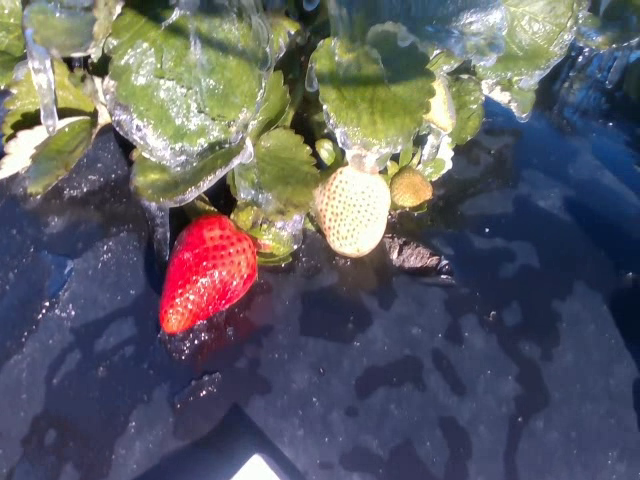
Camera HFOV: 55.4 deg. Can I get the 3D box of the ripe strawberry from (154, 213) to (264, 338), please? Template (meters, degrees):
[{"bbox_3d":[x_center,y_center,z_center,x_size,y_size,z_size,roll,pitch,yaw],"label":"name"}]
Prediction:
[{"bbox_3d":[-0.051,0.012,0.240,0.041,0.052,0.040,26,-22,18],"label":"ripe strawberry"}]
